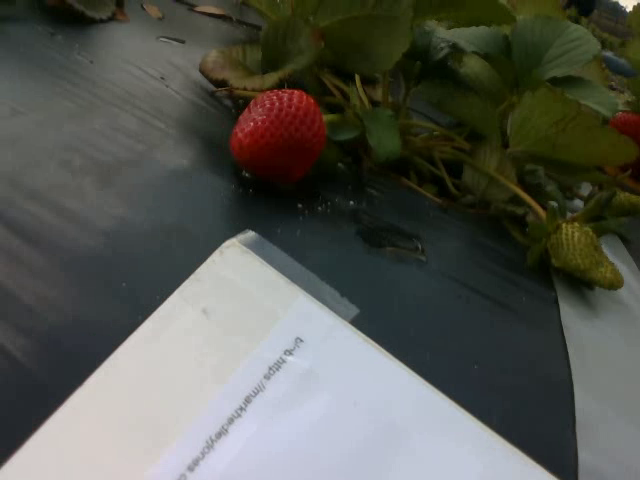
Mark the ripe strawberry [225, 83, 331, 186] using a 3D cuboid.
[{"bbox_3d":[-0.015,-0.037,0.222,0.036,0.040,0.046,12,13,31],"label":"ripe strawberry"}]
